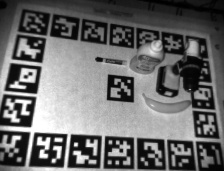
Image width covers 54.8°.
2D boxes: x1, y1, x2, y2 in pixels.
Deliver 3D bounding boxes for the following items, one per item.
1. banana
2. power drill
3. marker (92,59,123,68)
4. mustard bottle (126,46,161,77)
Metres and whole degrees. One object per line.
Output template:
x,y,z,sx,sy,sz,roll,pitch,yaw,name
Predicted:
0.197,0.085,0.825,0.198,0.039,0.074,12,72,-7,banana
0.226,-0.026,0.765,0.057,0.186,0.184,18,68,-7,power drill
-0.018,-0.085,0.837,0.122,0.019,0.019,7,73,-11,marker
0.121,-0.091,0.779,0.096,0.191,0.058,15,70,-8,mustard bottle
